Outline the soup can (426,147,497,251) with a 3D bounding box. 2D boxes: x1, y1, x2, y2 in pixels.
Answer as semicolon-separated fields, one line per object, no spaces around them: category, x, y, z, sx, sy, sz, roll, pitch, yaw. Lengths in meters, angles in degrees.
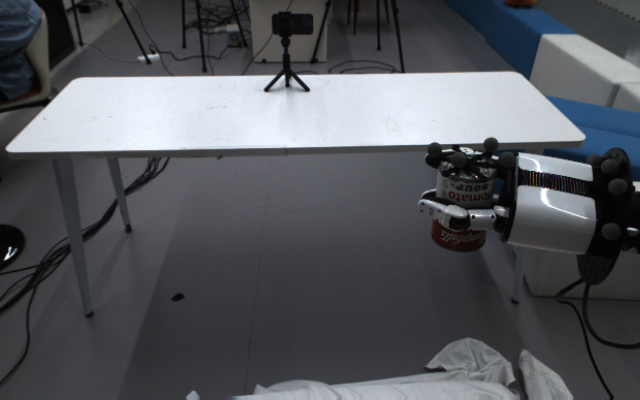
soup can;0.176;0.003;0.592;0.067;0.101;0.067;-2;33;1
